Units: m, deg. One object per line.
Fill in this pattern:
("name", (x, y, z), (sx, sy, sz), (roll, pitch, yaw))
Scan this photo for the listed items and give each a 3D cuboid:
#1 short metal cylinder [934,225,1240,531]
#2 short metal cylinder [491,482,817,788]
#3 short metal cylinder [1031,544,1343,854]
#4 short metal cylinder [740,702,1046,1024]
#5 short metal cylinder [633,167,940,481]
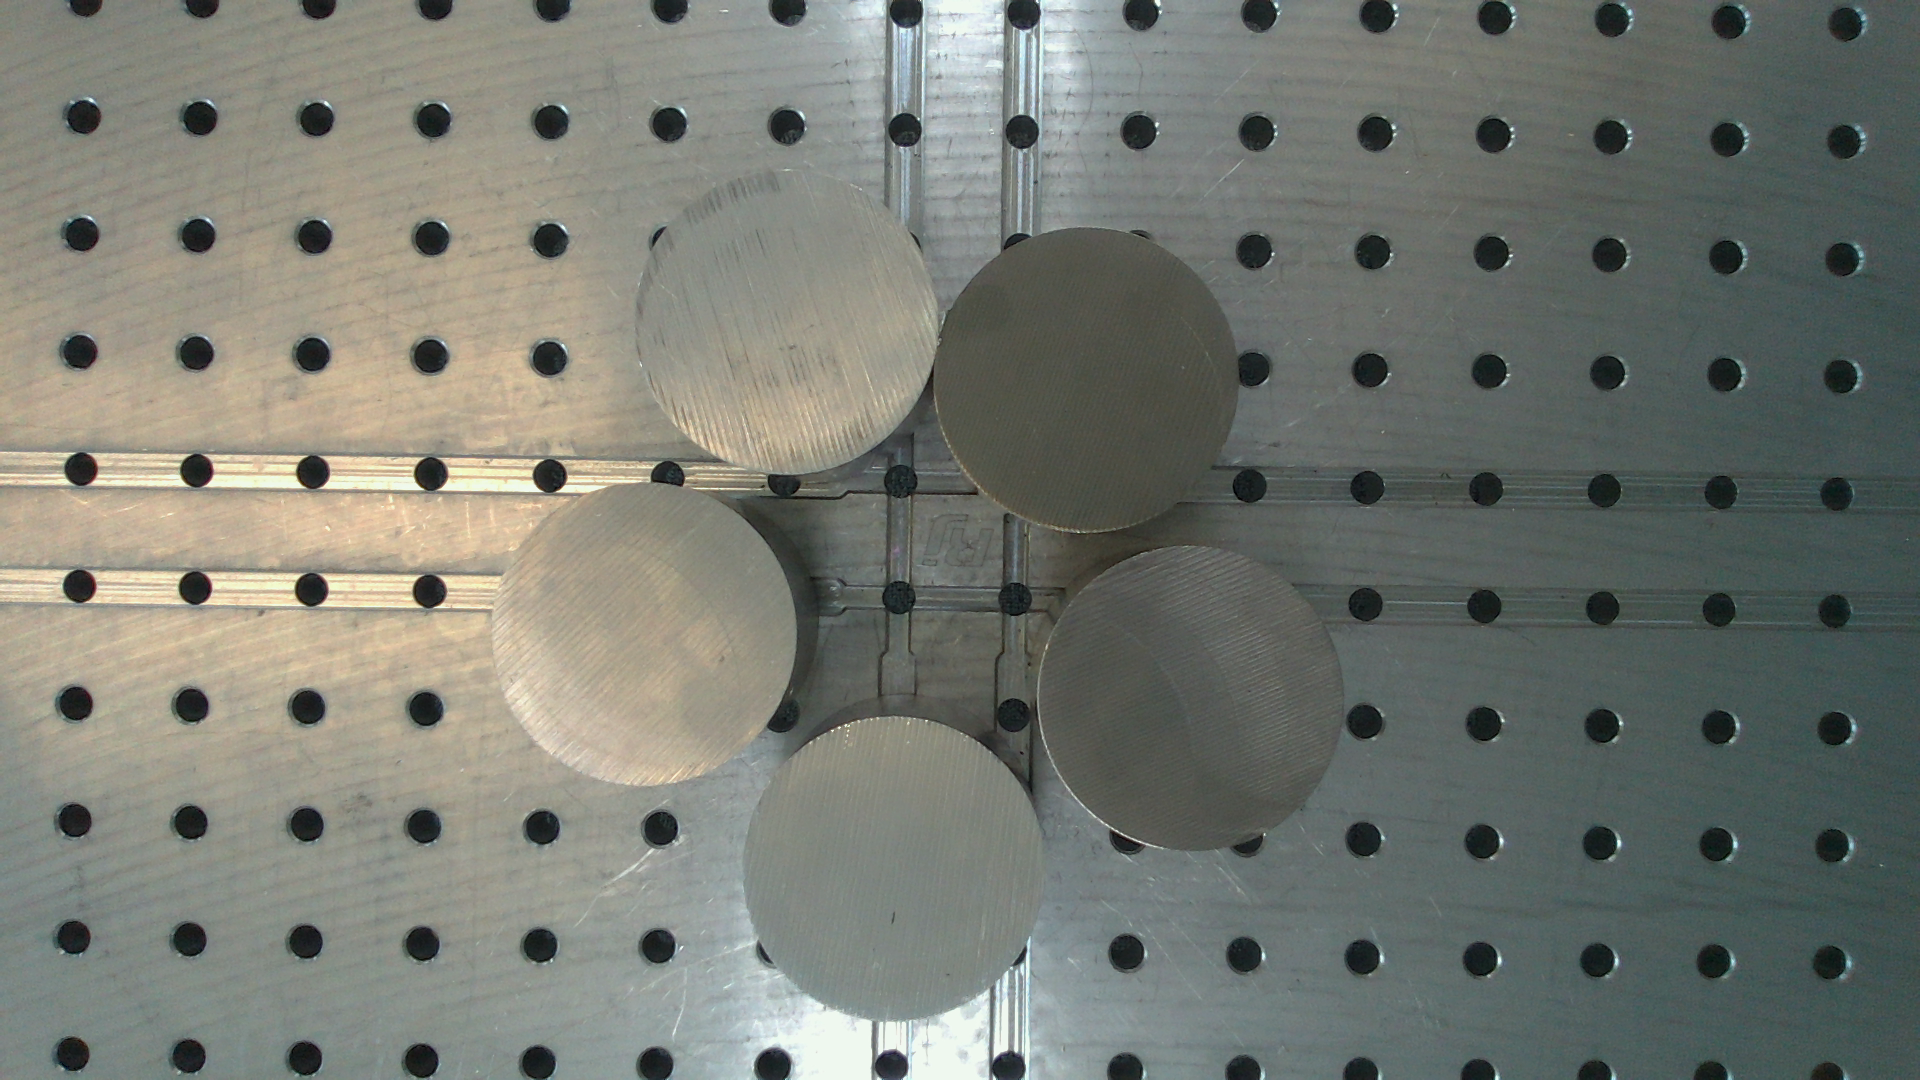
("short metal cylinder", (0.033, -0.042, 0.384), (0.080, 0.050, 0.080), (0, 90, 0))
("short metal cylinder", (-0.083, 0.025, 0.385), (0.080, 0.050, 0.080), (0, 91, 0))
("short metal cylinder", (0.060, 0.042, 0.385), (0.080, 0.050, 0.080), (0, 91, 0))
("short metal cylinder", (-0.017, 0.086, 0.384), (0.080, 0.050, 0.080), (0, 90, 1))
("short metal cylinder", (-0.045, -0.057, 0.384), (0.080, 0.050, 0.080), (0, 90, 0))
